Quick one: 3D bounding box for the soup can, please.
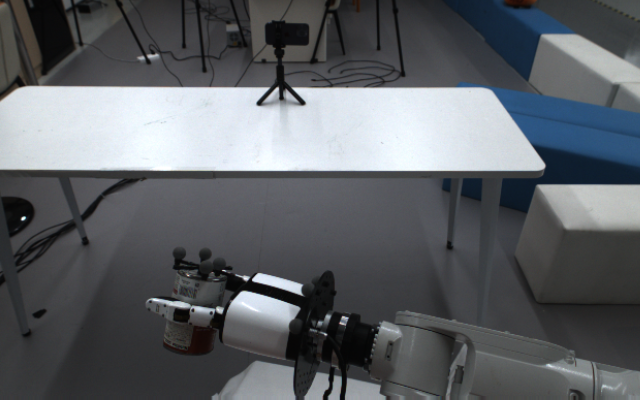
[{"bbox_3d":[-0.163,0.145,0.639,0.067,0.101,0.067,12,2,0],"label":"soup can"}]
